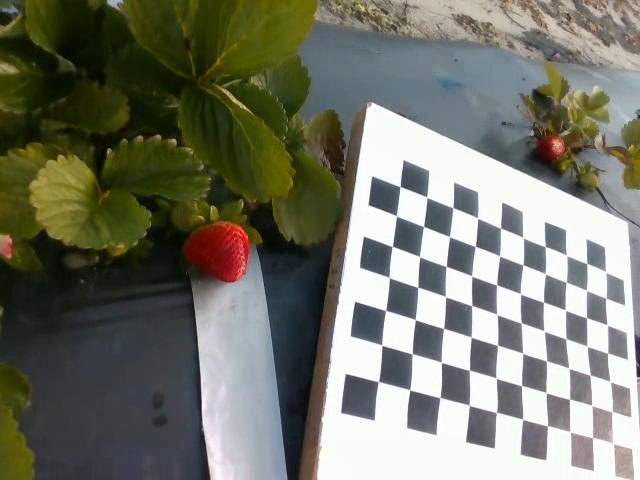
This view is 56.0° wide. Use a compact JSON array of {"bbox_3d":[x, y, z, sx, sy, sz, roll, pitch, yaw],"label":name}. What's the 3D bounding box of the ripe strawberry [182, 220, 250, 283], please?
[{"bbox_3d":[-0.053,0.009,0.342,0.050,0.055,0.036,17,-43,-30],"label":"ripe strawberry"}]
